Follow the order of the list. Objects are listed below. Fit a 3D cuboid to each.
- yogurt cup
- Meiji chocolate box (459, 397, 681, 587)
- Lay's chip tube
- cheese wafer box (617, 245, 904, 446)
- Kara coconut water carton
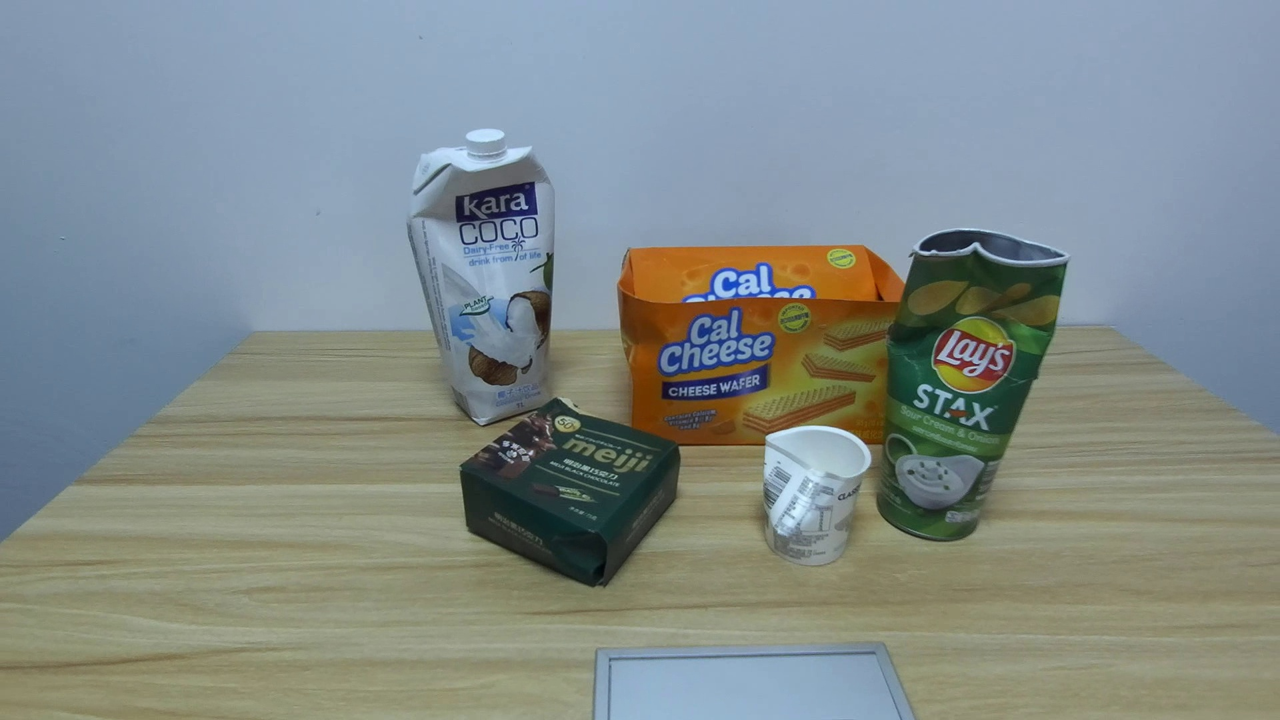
[{"bbox_3d":[0.113,0.088,0.459,0.067,0.070,0.067,0,24,0],"label":"yogurt cup"},{"bbox_3d":[-0.044,0.087,0.484,0.115,0.058,0.123,17,31,25],"label":"Meiji chocolate box"},{"bbox_3d":[0.204,0.019,0.457,0.077,0.201,0.069,-1,25,3],"label":"Lay's chip tube"},{"bbox_3d":[0.097,-0.015,0.607,0.230,0.132,0.152,0,27,-1],"label":"cheese wafer box"},{"bbox_3d":[-0.126,-0.067,0.588,0.115,0.238,0.069,-16,31,-28],"label":"Kara coconut water carton"}]
